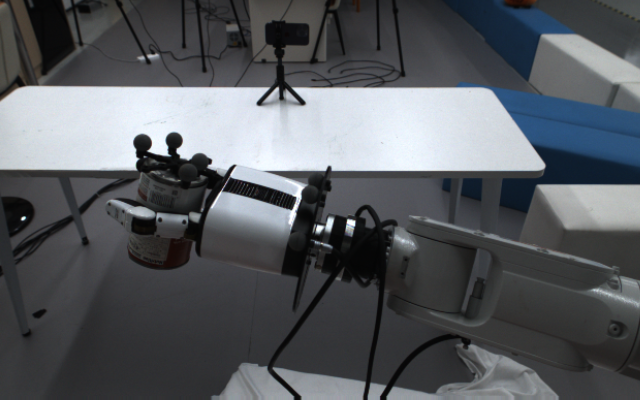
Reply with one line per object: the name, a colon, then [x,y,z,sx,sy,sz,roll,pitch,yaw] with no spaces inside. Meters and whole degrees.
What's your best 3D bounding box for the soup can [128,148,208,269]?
soup can: [-0.159,0.014,0.512,0.067,0.101,0.067,17,22,-7]
